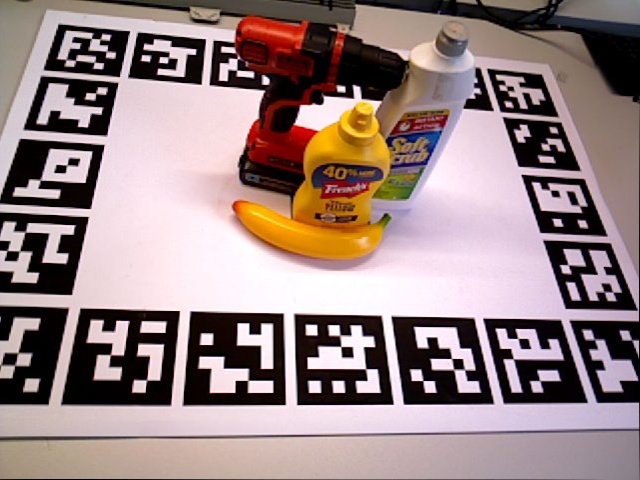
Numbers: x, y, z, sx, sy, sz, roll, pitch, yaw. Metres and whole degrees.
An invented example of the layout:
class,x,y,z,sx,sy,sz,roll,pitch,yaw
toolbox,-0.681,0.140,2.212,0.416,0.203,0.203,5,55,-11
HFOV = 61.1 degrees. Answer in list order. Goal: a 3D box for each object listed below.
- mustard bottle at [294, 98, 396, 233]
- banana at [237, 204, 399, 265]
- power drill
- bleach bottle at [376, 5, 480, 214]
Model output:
class,x,y,z,sx,sy,sz,roll,pitch,yaw
mustard bottle,0.032,-0.078,0.587,0.095,0.196,0.057,4,57,-10
banana,-0.002,-0.008,0.641,0.196,0.039,0.073,6,59,-4
power drill,-0.007,-0.151,0.601,0.183,0.191,0.056,15,55,-4
bleach bottle,0.102,-0.136,0.608,0.102,0.257,0.067,6,51,-8
